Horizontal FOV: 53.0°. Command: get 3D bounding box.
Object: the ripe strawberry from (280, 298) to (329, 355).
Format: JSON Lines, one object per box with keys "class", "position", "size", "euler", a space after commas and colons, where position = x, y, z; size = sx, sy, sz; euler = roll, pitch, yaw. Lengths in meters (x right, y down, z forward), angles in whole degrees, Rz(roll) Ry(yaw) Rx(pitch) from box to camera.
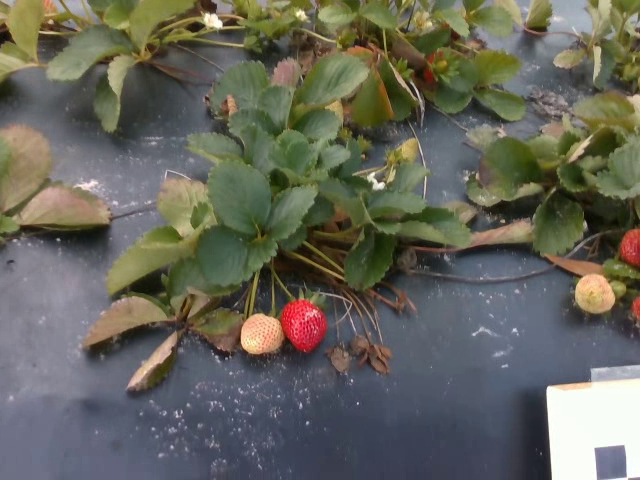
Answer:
{"class": "ripe strawberry", "position": [-0.011, 0.055, 0.403], "size": [0.034, 0.033, 0.041], "euler": [29, 21, -4]}
